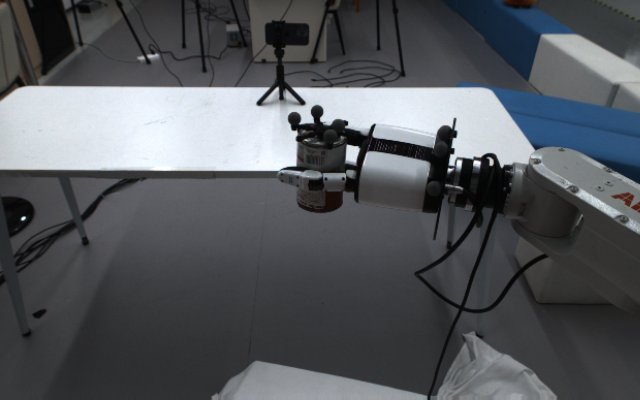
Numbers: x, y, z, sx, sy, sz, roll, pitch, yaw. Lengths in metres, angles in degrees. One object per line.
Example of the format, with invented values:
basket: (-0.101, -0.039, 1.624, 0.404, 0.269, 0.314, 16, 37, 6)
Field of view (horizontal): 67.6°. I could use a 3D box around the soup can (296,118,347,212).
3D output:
soup can: (0.001, -0.042, 0.659, 0.067, 0.101, 0.067, 2, 32, -1)
